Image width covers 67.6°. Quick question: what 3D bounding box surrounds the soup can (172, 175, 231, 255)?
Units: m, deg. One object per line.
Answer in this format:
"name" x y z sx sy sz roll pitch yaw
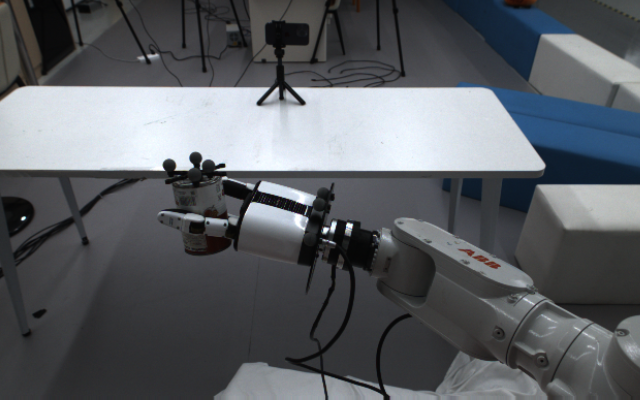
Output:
"soup can" -0.160 0.017 0.664 0.067 0.101 0.067 -4 21 2
